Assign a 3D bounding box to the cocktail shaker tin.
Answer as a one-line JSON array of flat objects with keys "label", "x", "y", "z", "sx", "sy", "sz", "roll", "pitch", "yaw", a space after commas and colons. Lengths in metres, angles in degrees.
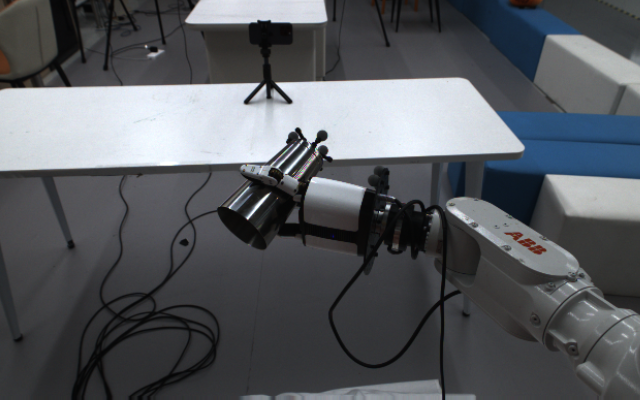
[{"label": "cocktail shaker tin", "x": -0.069, "y": -0.022, "z": 0.747, "sx": 0.093, "sy": 0.093, "sz": 0.170, "roll": 23, "pitch": 57, "yaw": 27}]
